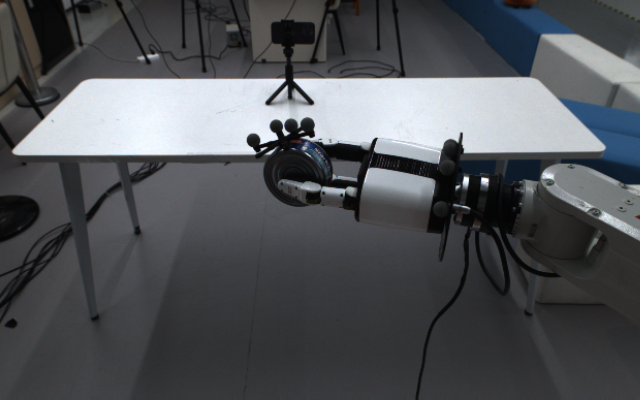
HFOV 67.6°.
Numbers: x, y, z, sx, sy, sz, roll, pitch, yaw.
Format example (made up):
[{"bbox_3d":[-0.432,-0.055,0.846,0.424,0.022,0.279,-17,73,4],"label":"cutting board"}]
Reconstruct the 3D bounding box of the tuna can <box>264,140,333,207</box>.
[{"bbox_3d":[-0.025,-0.028,0.623,0.085,0.085,0.034,11,34,13],"label":"tuna can"}]
